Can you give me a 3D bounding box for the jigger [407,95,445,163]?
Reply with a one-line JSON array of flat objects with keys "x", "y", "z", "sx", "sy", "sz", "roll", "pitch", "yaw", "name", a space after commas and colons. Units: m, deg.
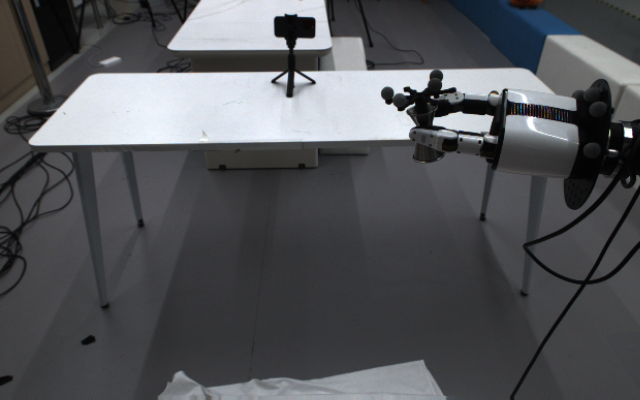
[{"x": 0.139, "y": -0.089, "z": 0.639, "sx": 0.043, "sy": 0.071, "sz": 0.043, "roll": -12, "pitch": 29, "yaw": 7, "name": "jigger"}]
